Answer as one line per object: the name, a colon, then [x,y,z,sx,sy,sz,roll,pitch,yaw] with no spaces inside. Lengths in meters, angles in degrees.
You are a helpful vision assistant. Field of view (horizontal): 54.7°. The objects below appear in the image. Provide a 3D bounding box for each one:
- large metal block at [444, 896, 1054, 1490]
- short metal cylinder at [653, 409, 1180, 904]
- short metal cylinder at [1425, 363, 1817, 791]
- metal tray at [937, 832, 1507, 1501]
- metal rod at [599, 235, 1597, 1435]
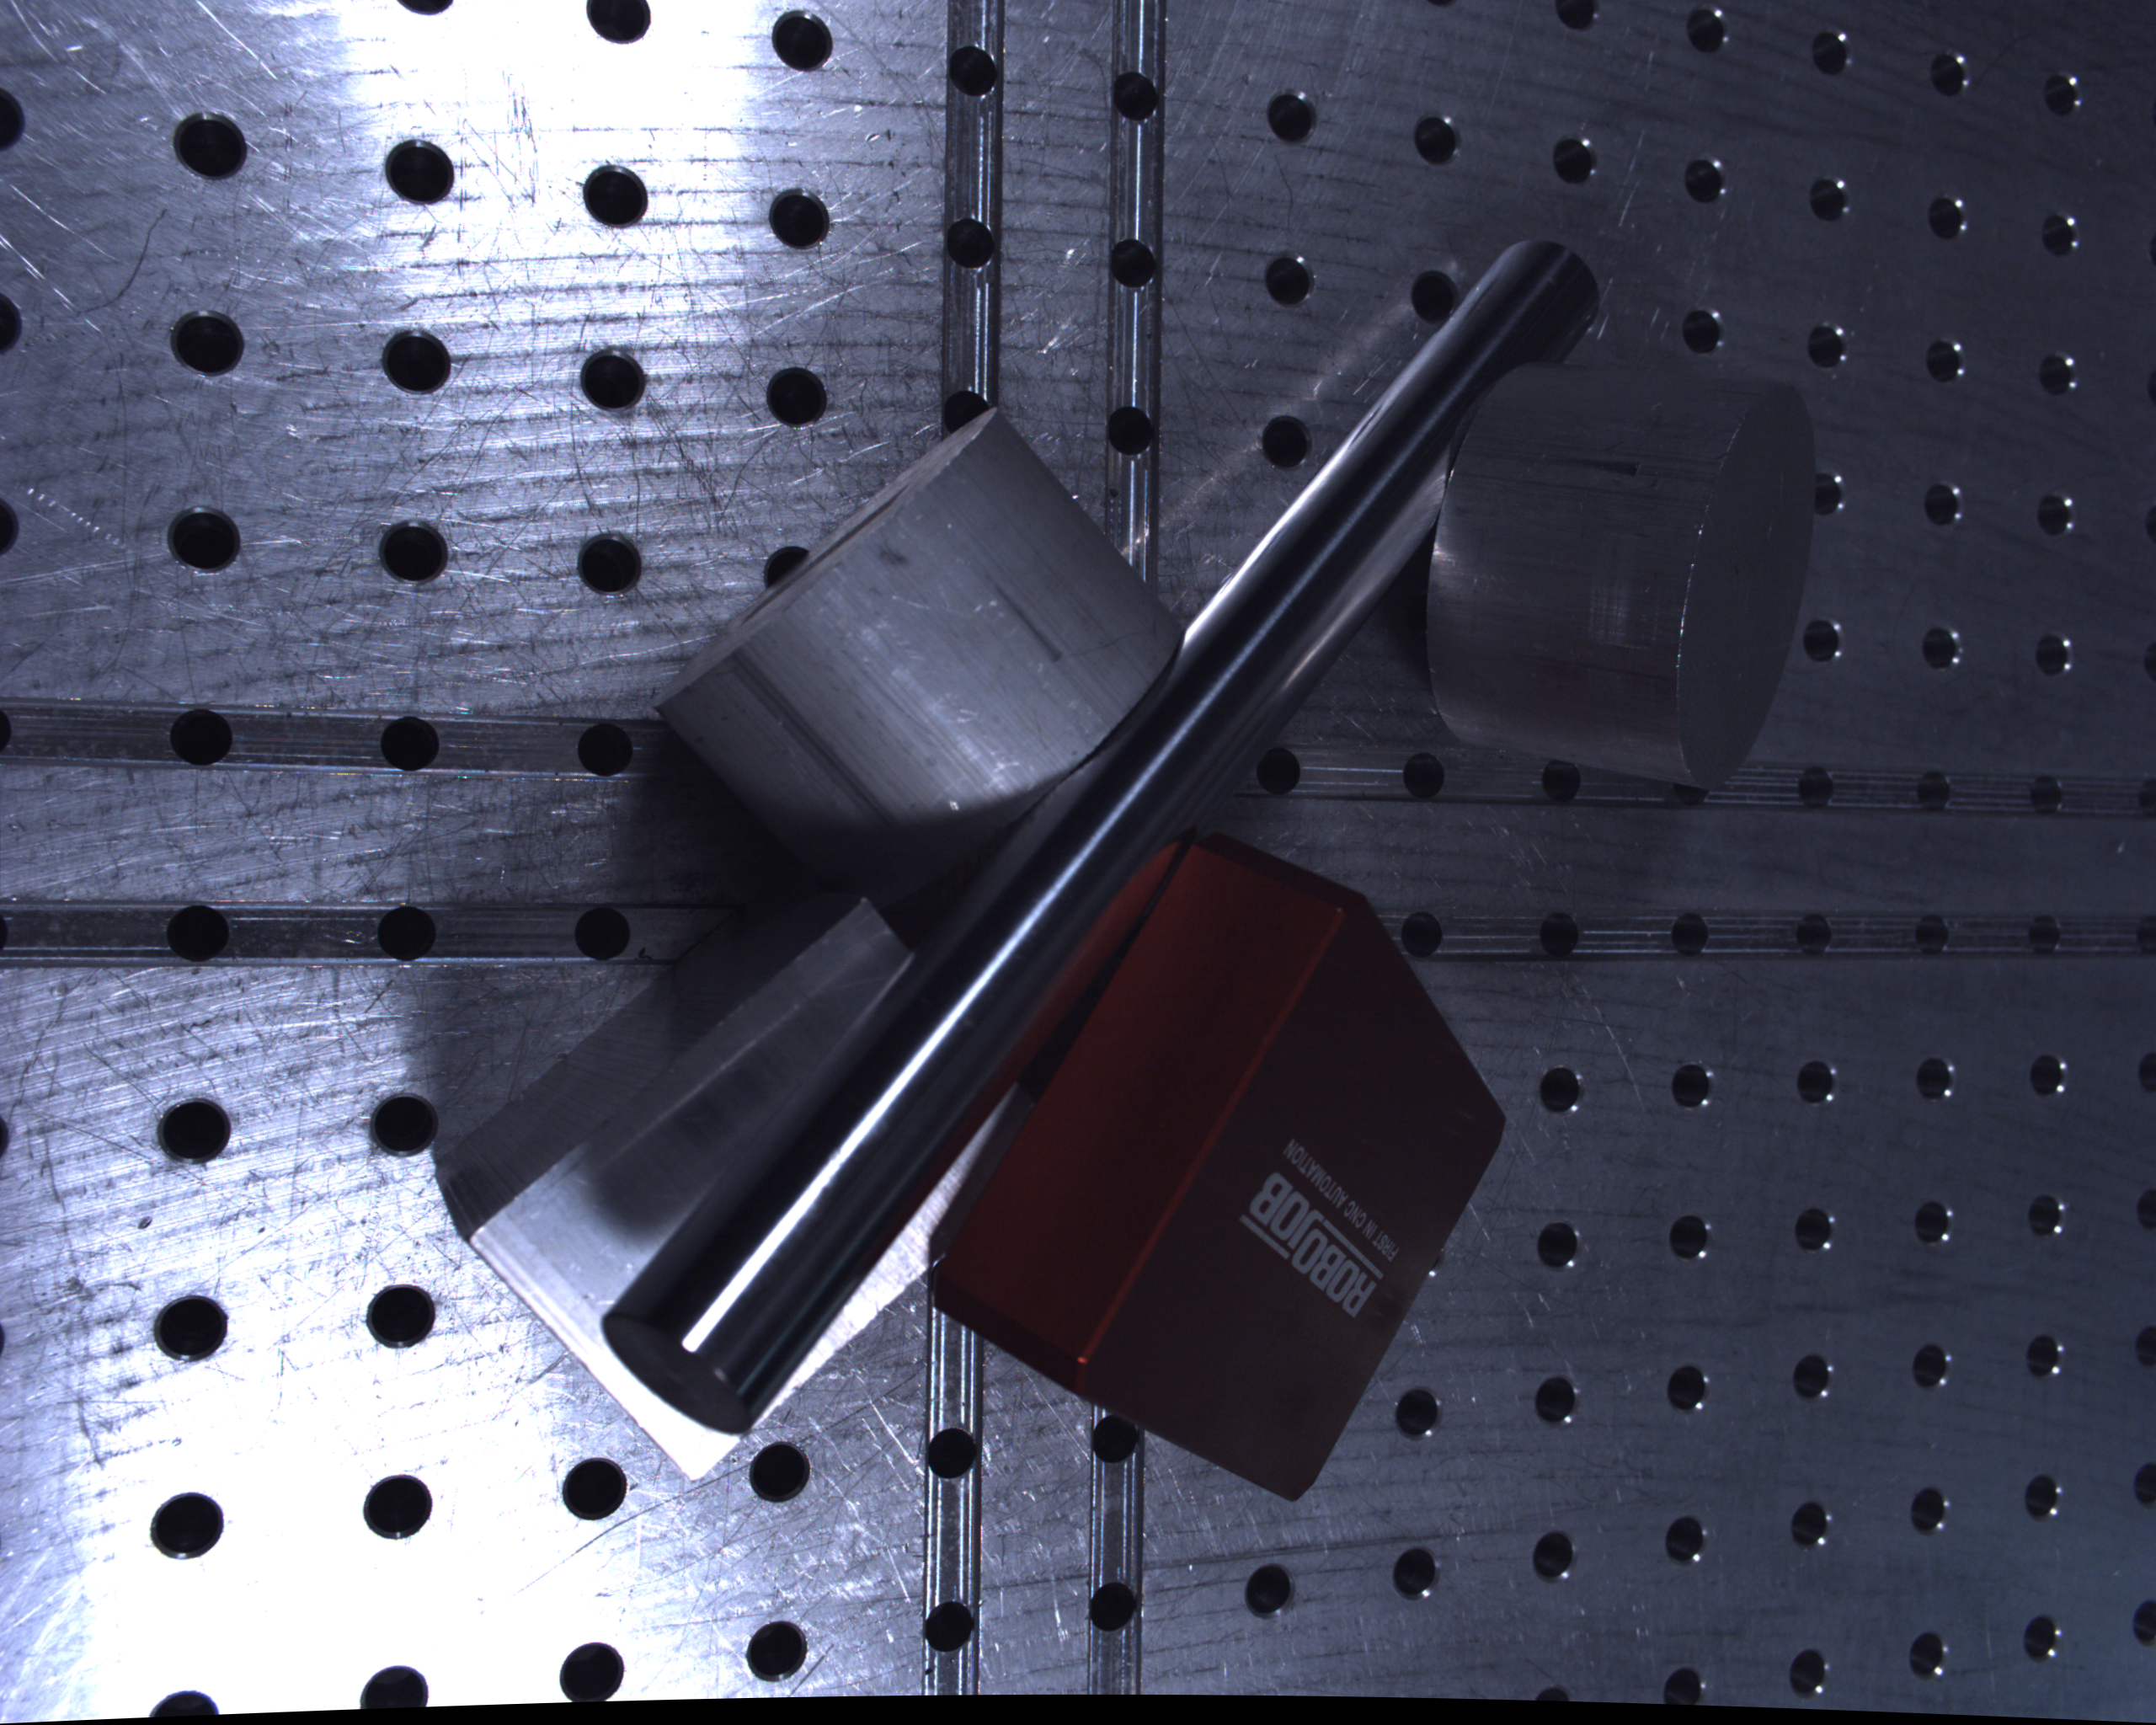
large metal block: [-0.058,0.051,0.362,0.080,0.080,0.050,-41,104,-15]
short metal cylinder: [-0.029,-0.036,0.373,0.080,0.080,0.050,-45,105,-15]
short metal cylinder: [0.111,-0.058,0.420,0.081,0.050,0.079,-29,126,-50]
metal tray: [0.033,0.061,0.381,0.090,0.030,0.130,-59,149,-10]
metal rod: [0.023,-0.028,0.365,0.025,0.025,0.301,49,54,-14]
